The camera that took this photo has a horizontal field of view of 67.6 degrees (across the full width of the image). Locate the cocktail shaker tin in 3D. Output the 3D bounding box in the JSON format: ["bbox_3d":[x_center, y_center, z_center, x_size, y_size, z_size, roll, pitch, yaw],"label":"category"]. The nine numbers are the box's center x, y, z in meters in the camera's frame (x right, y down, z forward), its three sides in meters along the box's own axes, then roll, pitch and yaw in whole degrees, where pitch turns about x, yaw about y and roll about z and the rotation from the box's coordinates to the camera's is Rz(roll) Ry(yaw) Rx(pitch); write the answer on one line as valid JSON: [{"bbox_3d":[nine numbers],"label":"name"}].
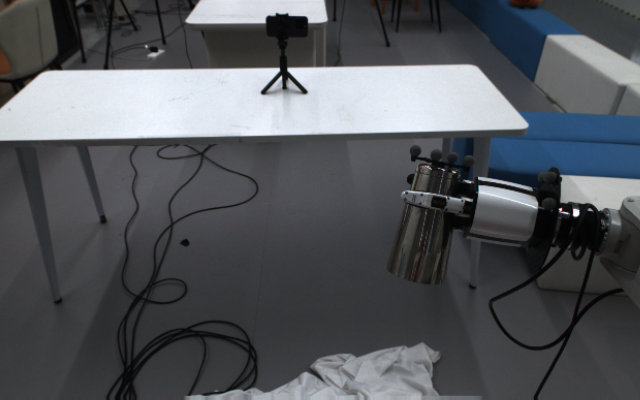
[{"bbox_3d":[0.168,0.031,0.747,0.093,0.170,0.093,10,9,-2],"label":"cocktail shaker tin"}]
